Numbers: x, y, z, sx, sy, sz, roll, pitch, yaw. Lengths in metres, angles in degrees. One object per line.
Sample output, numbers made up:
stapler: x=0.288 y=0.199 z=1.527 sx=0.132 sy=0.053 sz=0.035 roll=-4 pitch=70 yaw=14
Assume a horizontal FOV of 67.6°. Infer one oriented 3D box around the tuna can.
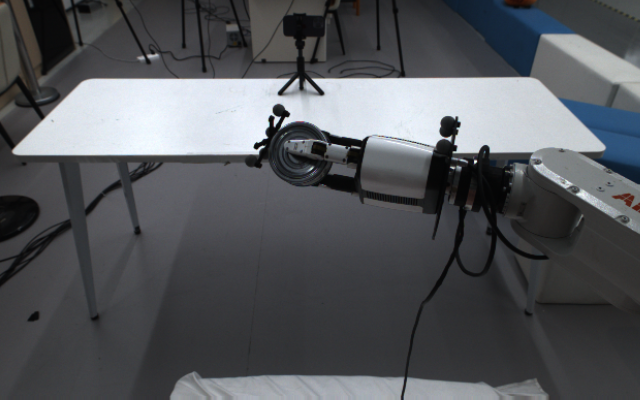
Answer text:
tuna can: x=-0.023 y=-0.059 z=0.655 sx=0.085 sy=0.085 sz=0.034 roll=9 pitch=-4 yaw=10
